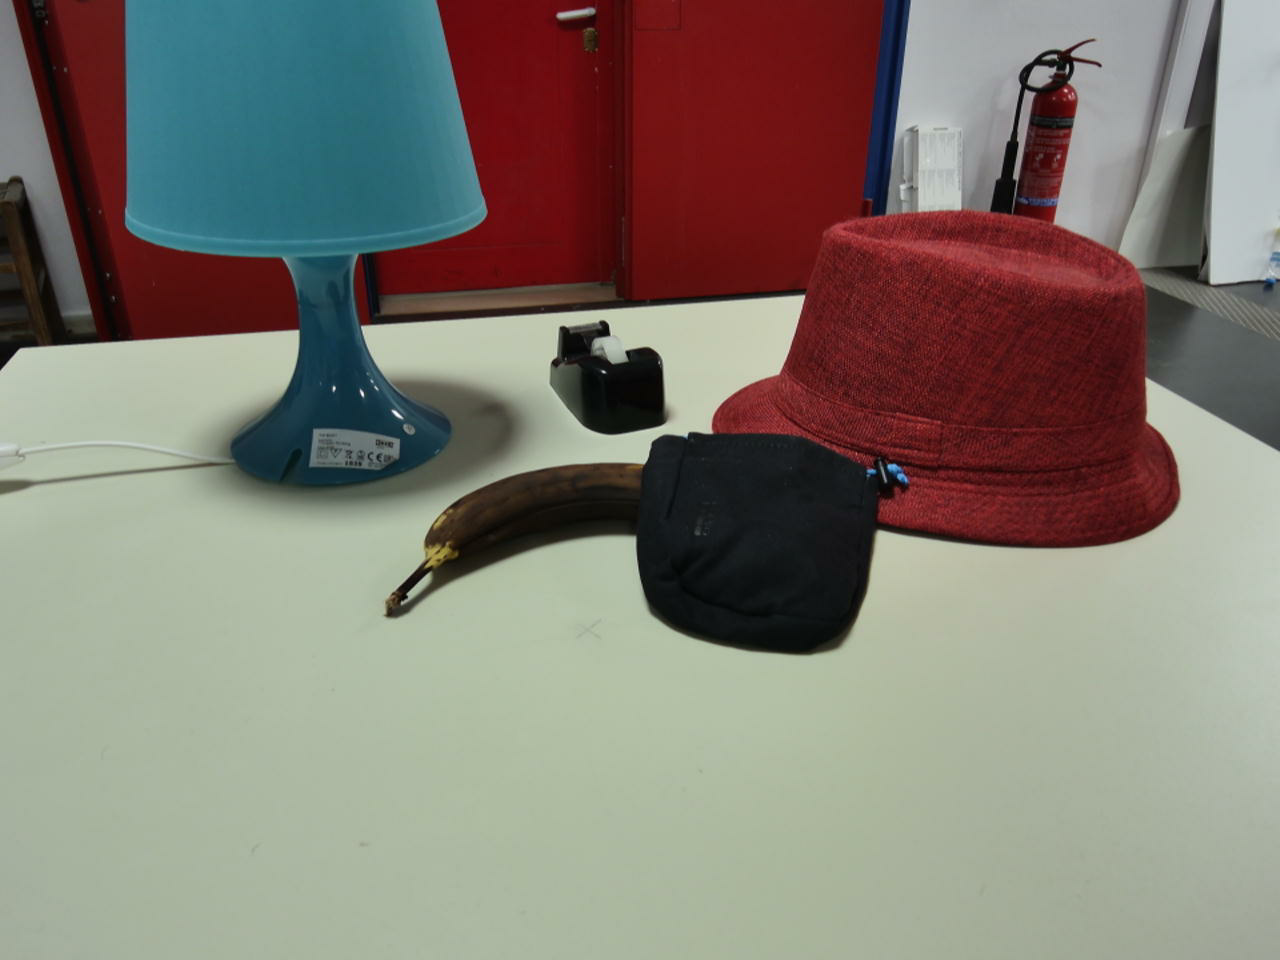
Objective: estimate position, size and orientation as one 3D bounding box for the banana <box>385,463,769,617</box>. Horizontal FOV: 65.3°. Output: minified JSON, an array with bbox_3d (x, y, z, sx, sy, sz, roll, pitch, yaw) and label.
[{"bbox_3d":[-0.034,0.019,0.512,0.188,0.034,0.091,-5,26,-11],"label":"banana"}]
